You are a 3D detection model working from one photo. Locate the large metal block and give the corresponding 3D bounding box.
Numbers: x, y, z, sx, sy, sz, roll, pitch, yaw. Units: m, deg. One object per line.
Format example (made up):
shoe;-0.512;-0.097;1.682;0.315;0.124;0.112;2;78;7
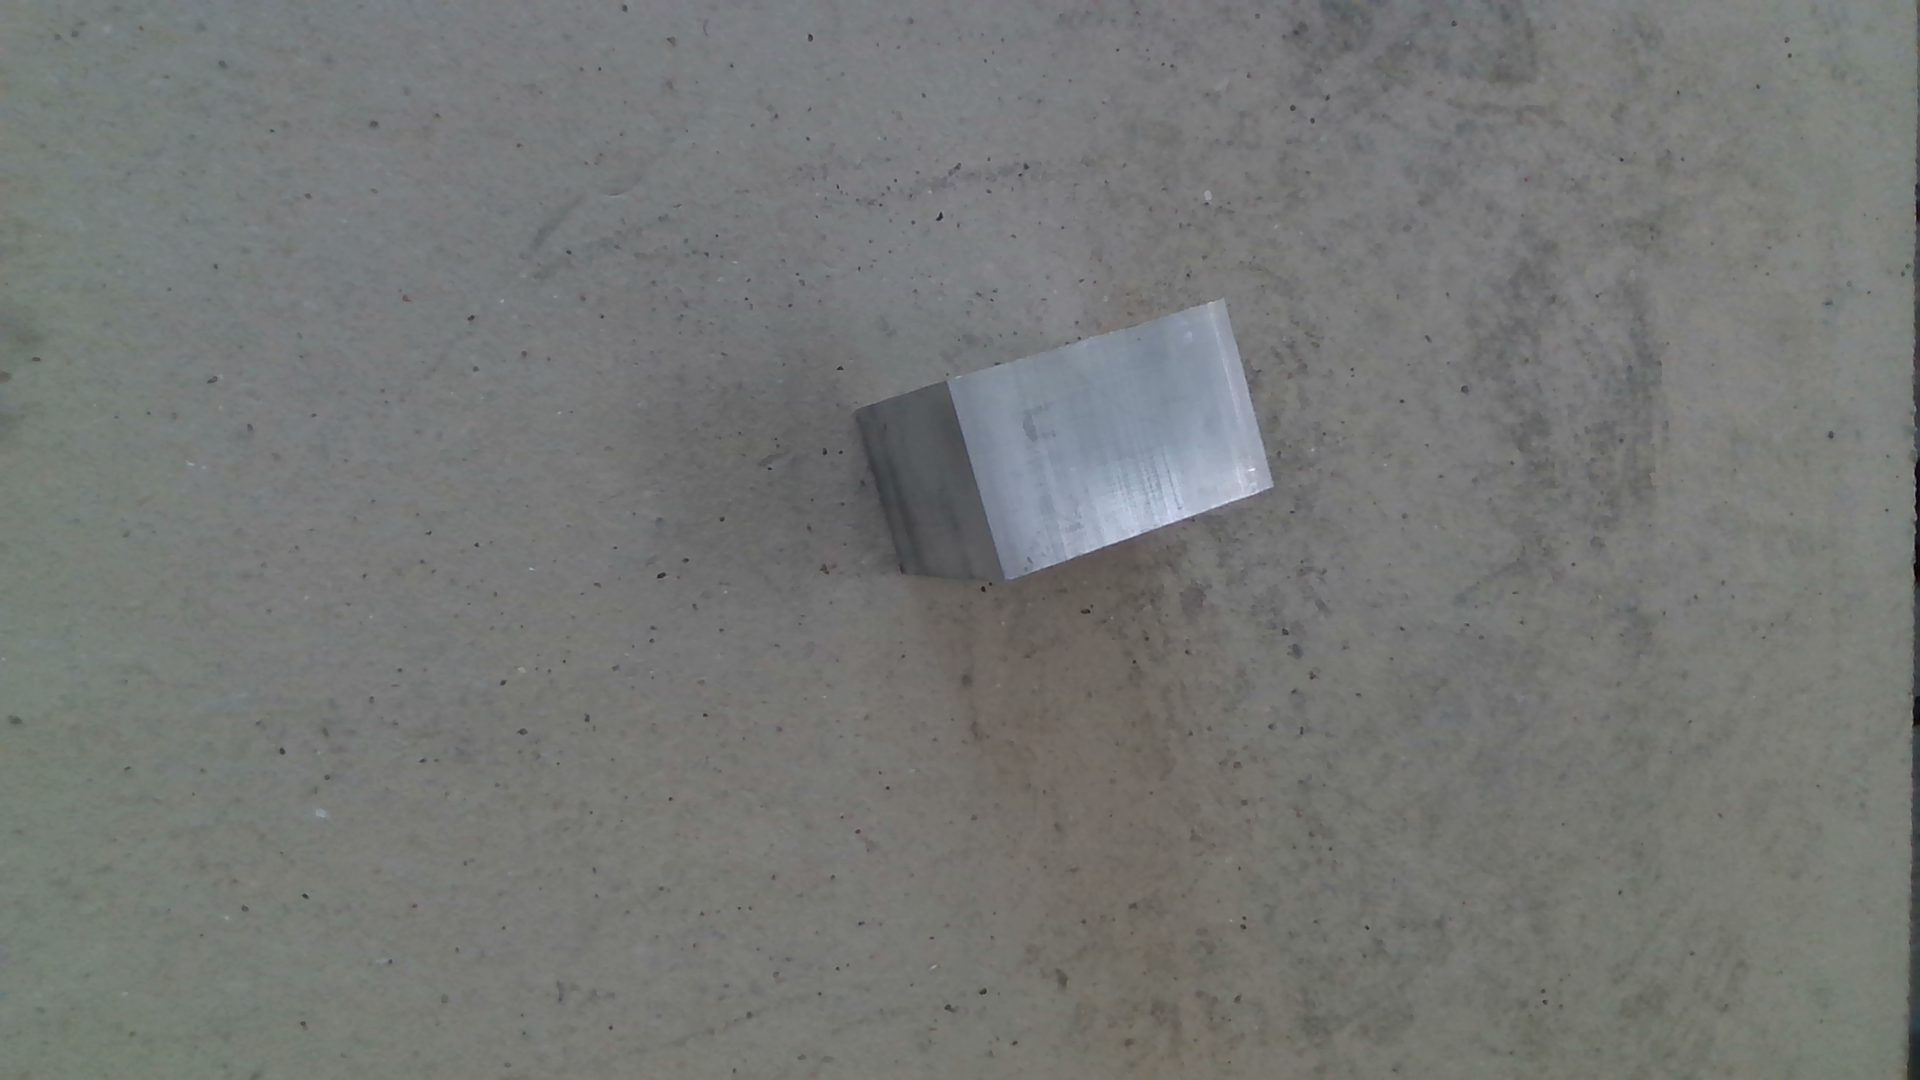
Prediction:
large metal block;0.025;-0.026;0.373;0.080;0.080;0.050;-18;96;-19
